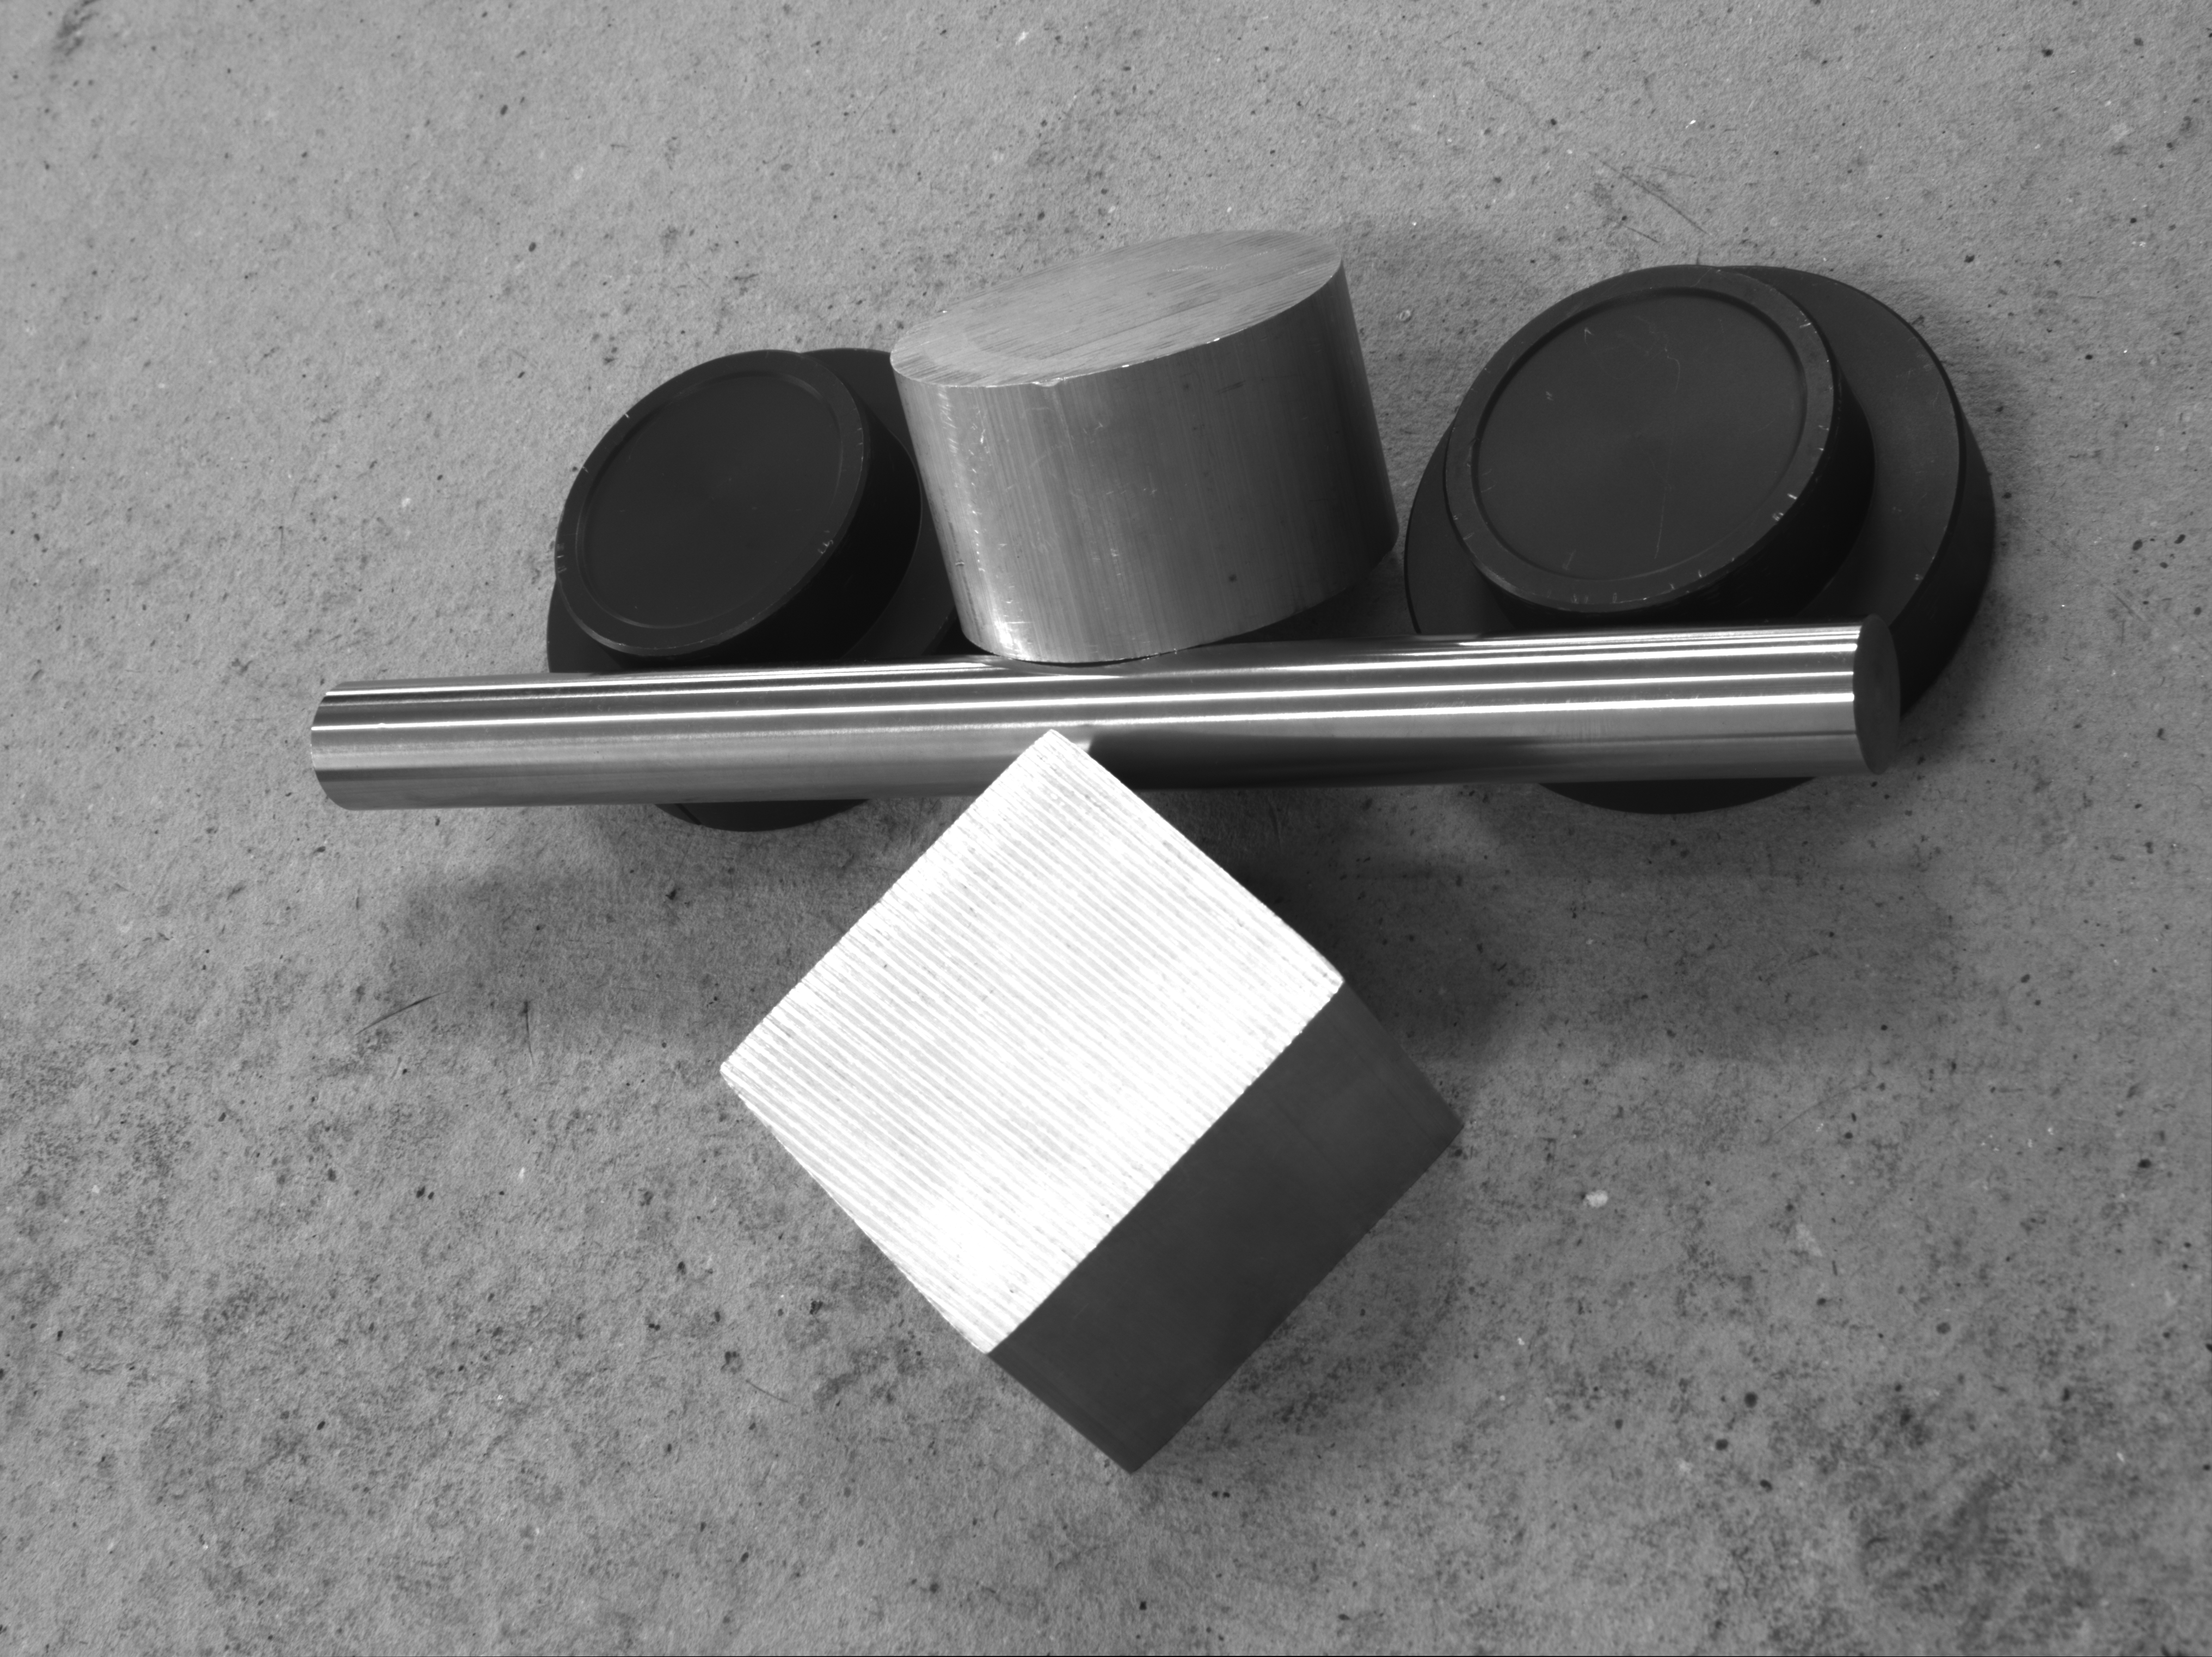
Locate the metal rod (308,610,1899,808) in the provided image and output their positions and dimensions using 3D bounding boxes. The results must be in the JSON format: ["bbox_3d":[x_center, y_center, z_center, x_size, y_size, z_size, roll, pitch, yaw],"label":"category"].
[{"bbox_3d":[-0.013,-0.019,0.637,0.299,0.025,0.025,-1,61,28],"label":"metal rod"}]

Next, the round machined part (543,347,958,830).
[{"bbox_3d":[-0.066,-0.052,0.702,0.098,0.042,0.098,-14,56,21],"label":"round machined part"}]

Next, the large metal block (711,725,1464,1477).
[{"bbox_3d":[-0.003,0.044,0.602,0.080,0.050,0.080,-46,51,-4],"label":"large metal block"}]

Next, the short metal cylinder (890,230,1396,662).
[{"bbox_3d":[0.007,-0.068,0.644,0.080,0.050,0.080,-11,22,5],"label":"short metal cylinder"}]

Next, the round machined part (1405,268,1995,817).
[{"bbox_3d":[0.096,-0.055,0.617,0.098,0.042,0.098,-14,56,21],"label":"round machined part"}]
